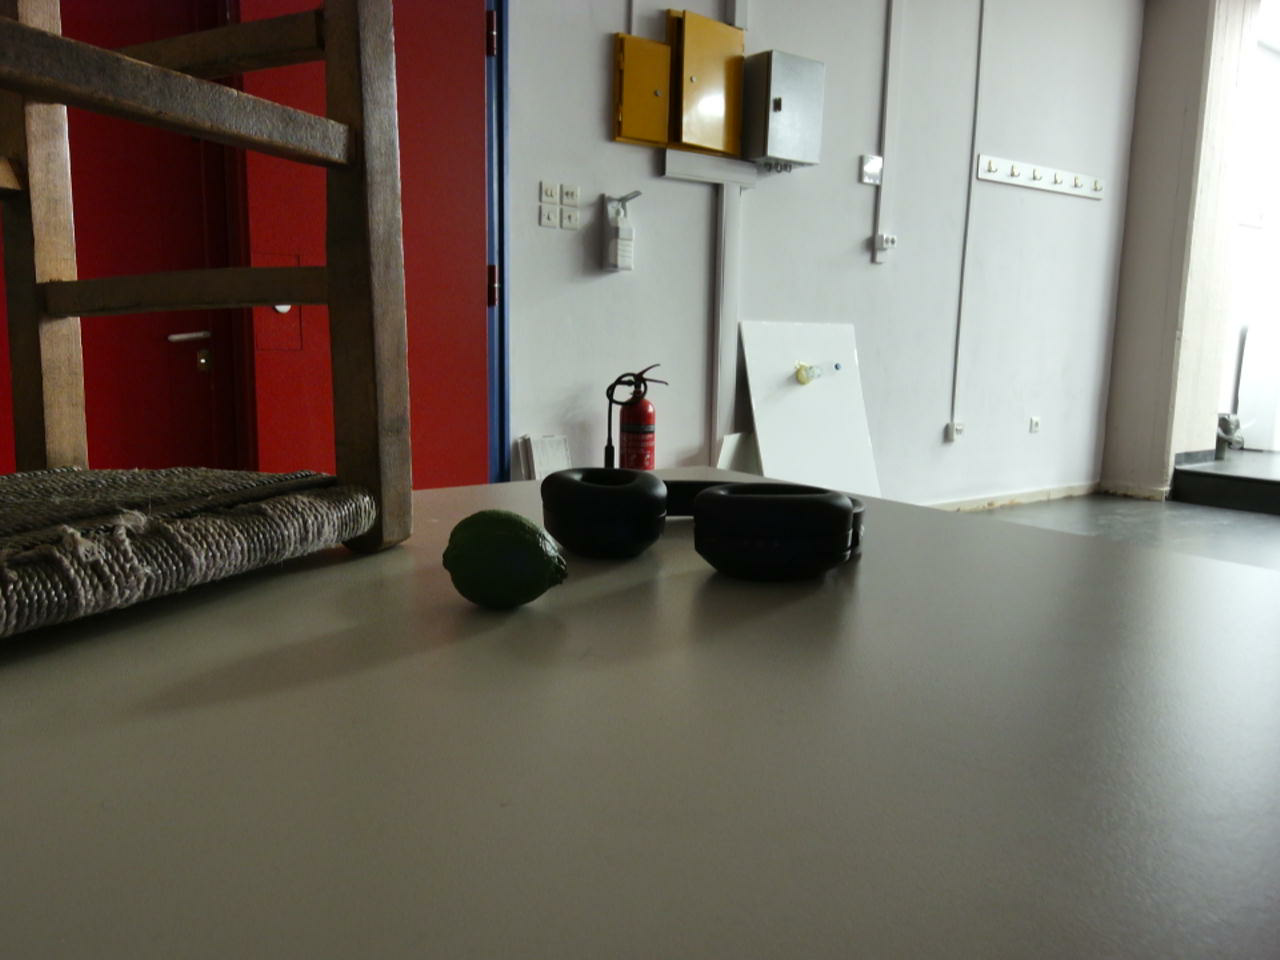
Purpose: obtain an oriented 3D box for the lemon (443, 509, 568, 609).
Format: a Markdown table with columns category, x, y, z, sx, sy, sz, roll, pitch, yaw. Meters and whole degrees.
| category | x | y | z | sx | sy | sz | roll | pitch | yaw |
| --- | --- | --- | --- | --- | --- | --- | --- | --- | --- |
| lemon | -0.072 | 0.040 | 0.519 | 0.057 | 0.051 | 0.054 | -5 | 8 | -40 |
